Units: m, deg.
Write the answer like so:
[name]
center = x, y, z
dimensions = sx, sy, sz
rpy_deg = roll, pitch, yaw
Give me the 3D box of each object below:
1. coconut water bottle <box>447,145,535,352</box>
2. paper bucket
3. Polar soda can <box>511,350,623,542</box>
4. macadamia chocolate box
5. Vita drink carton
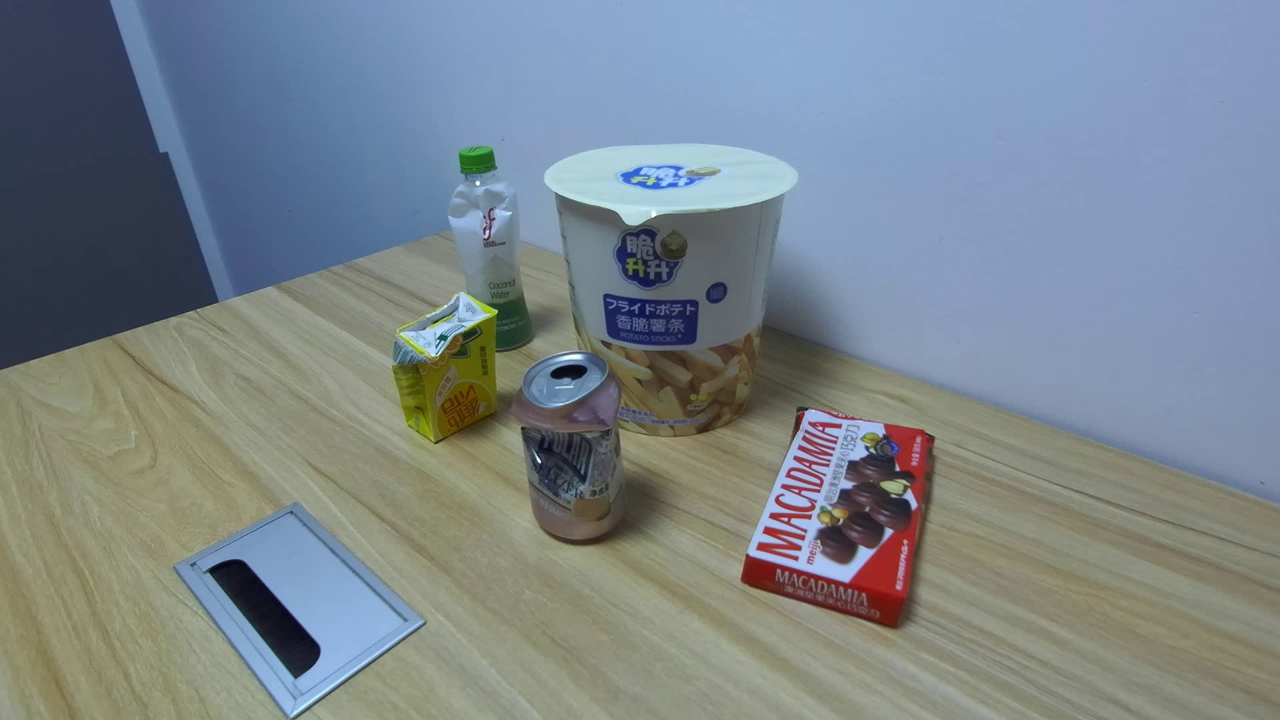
[coconut water bottle]
center = -0.144, -0.103, 0.670
dimensions = 0.069, 0.186, 0.069
rpy_deg = -2, 30, 2
[paper bucket]
center = 0.025, -0.059, 0.578
dimensions = 0.198, 0.195, 0.198
rpy_deg = -1, 30, 1
[Polar soda can]
center = -0.046, 0.059, 0.458
dimensions = 0.071, 0.122, 0.066
rpy_deg = -2, 35, -1
[macadamia chocolate box]
center = 0.141, 0.094, 0.482
dimensions = 0.105, 0.028, 0.183
rpy_deg = 12, 32, 20
[Vita drink carton]
center = -0.151, 0.009, 0.562
dimensions = 0.042, 0.108, 0.087
rpy_deg = 37, 48, 28
